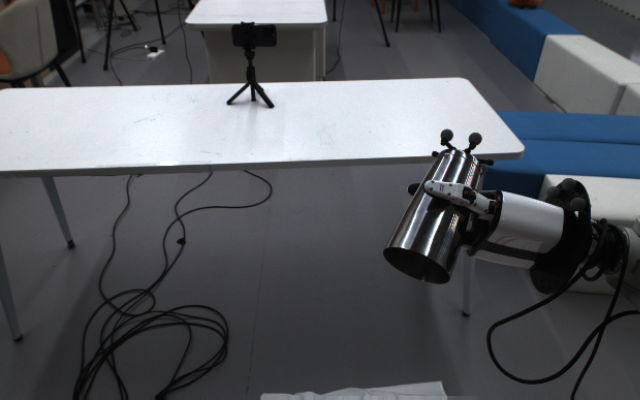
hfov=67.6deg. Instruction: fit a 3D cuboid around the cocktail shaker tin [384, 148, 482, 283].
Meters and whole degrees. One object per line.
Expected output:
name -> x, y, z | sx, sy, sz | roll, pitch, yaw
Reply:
cocktail shaker tin -> 0.164, 0.013, 0.655 | 0.093, 0.093, 0.170 | 18, 66, 21
